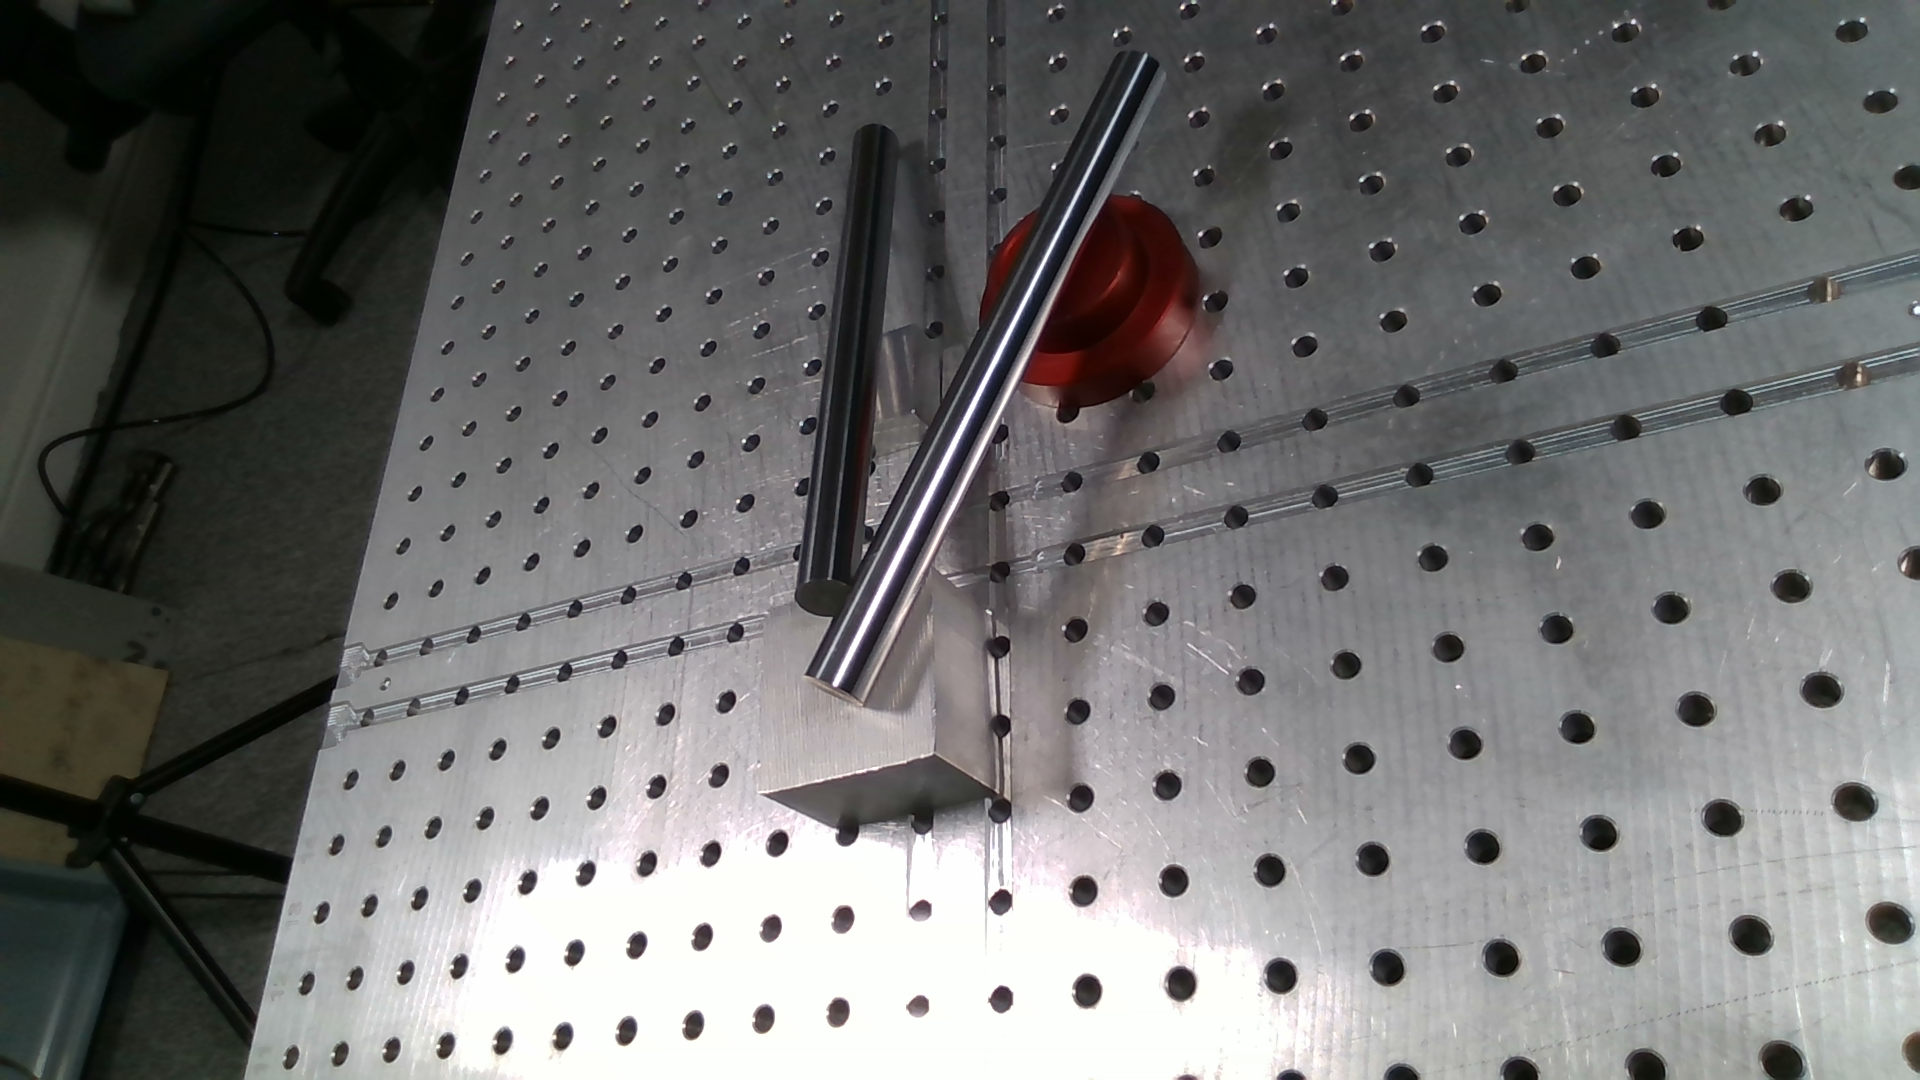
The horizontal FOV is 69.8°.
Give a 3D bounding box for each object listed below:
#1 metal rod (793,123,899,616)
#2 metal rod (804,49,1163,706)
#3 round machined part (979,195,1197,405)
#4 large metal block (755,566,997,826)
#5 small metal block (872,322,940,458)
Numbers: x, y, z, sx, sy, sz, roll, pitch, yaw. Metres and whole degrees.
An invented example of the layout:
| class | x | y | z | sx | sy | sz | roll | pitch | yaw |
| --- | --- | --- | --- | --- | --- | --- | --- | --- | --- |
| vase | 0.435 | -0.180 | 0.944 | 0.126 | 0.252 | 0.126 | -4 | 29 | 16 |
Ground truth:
| class | x | y | z | sx | sy | sz | roll | pitch | yaw |
| --- | --- | --- | --- | --- | --- | --- | --- | --- | --- |
| metal rod | -0.049 | -0.094 | 0.633 | 0.025 | 0.025 | 0.299 | -18 | 47 | 23 |
| metal rod | 0.014 | -0.074 | 0.556 | 0.025 | 0.025 | 0.299 | 14 | 71 | 36 |
| round machined part | 0.051 | -0.112 | 0.605 | 0.098 | 0.042 | 0.098 | -14 | 59 | 25 |
| large metal block | -0.034 | 0.063 | 0.556 | 0.080 | 0.050 | 0.080 | -16 | 58 | 24 |
| small metal block | -0.037 | -0.068 | 0.648 | 0.050 | 0.025 | 0.050 | -15 | 59 | 25 |
